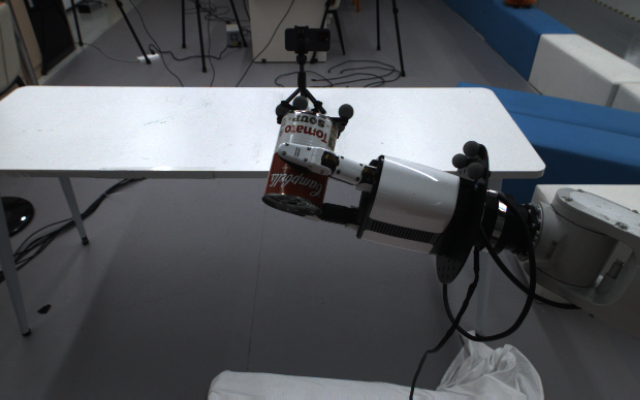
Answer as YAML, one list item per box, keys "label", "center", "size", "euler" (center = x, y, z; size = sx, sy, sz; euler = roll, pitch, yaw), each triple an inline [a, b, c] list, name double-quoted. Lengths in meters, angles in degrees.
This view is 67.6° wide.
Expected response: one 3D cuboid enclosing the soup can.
- label: "soup can"
  center: [-0.019, -0.041, 0.544]
  size: [0.067, 0.067, 0.101]
  euler: [9, 74, 9]
